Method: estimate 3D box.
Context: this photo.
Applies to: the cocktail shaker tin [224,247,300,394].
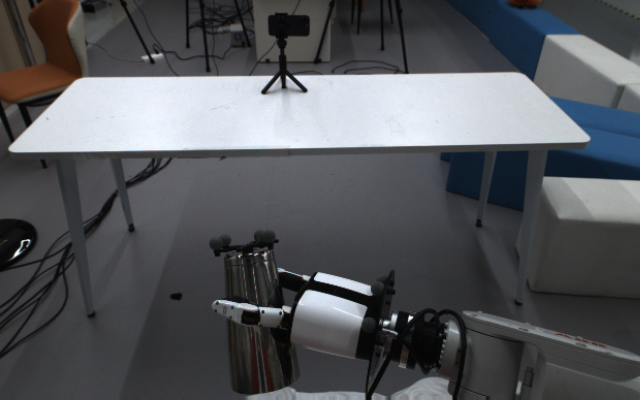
[{"bbox_3d":[-0.082,0.154,0.637,0.093,0.170,0.093,-8,1,0],"label":"cocktail shaker tin"}]
